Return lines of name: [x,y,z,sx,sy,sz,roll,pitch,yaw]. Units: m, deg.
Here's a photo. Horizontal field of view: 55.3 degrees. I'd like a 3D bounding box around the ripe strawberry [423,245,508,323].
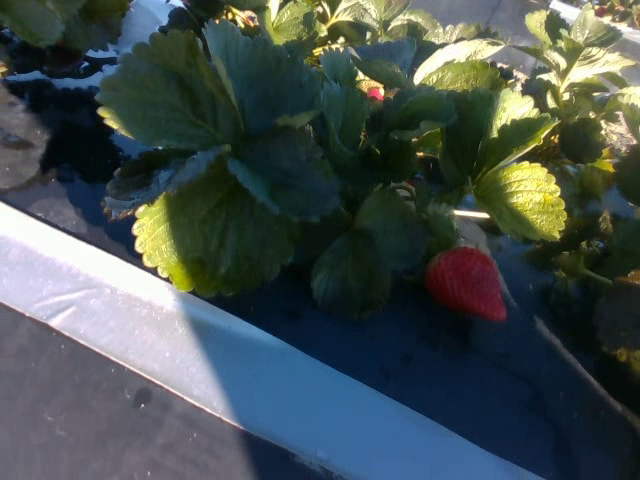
ripe strawberry: [0.082,0.026,0.326,0.045,0.059,0.042,-28,-36,0]
